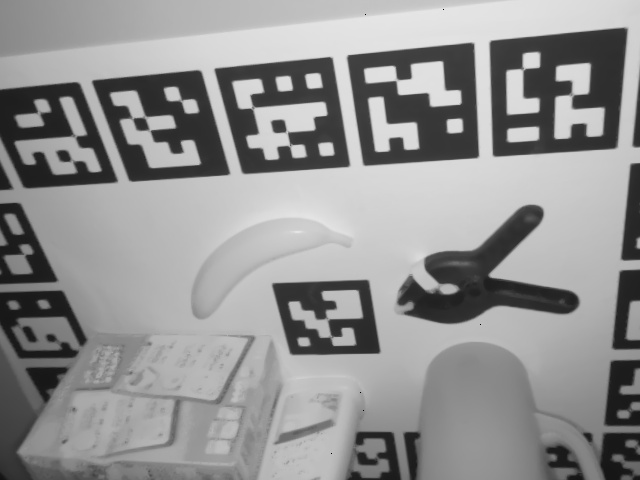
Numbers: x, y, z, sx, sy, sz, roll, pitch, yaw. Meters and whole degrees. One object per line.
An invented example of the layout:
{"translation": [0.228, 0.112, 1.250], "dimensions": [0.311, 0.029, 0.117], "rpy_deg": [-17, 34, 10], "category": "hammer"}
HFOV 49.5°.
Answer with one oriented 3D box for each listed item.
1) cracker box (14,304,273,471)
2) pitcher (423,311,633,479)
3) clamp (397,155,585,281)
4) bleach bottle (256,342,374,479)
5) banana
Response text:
{"translation": [-0.167, 0.145, 0.696], "dimensions": [0.213, 0.166, 0.071], "rpy_deg": [-4, 126, 9], "category": "cracker box"}
{"translation": [0.165, 0.174, 0.610], "dimensions": [0.186, 0.245, 0.133], "rpy_deg": [-20, 119, 24], "category": "pitcher"}
{"translation": [0.148, -0.004, 0.646], "dimensions": [0.163, 0.037, 0.122], "rpy_deg": [-19, 120, 21], "category": "clamp"}
{"translation": [-0.007, 0.210, 0.683], "dimensions": [0.102, 0.253, 0.067], "rpy_deg": [-4, 123, 12], "category": "bleach bottle"}
{"translation": [-0.070, -0.011, 0.682], "dimensions": [0.194, 0.039, 0.074], "rpy_deg": [-37, 112, 27], "category": "banana"}
